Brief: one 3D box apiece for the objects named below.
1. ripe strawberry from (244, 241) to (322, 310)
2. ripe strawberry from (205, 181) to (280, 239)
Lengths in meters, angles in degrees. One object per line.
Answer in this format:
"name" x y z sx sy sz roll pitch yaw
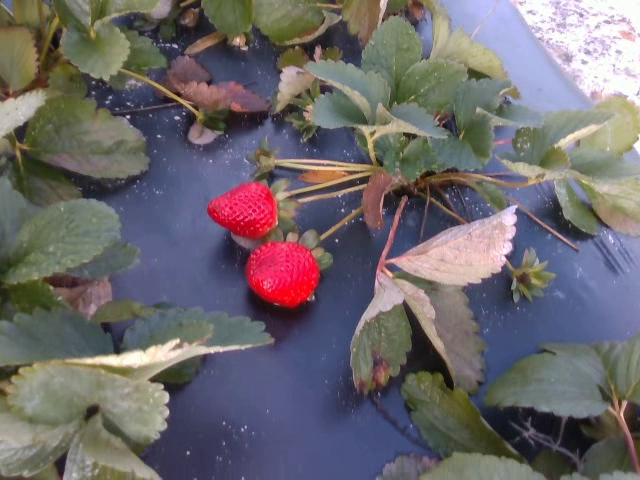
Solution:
"ripe strawberry" -0.029 0.017 0.395 0.057 0.051 0.064 17 21 12
"ripe strawberry" -0.057 -0.022 0.435 0.055 0.041 0.049 -12 48 -40
